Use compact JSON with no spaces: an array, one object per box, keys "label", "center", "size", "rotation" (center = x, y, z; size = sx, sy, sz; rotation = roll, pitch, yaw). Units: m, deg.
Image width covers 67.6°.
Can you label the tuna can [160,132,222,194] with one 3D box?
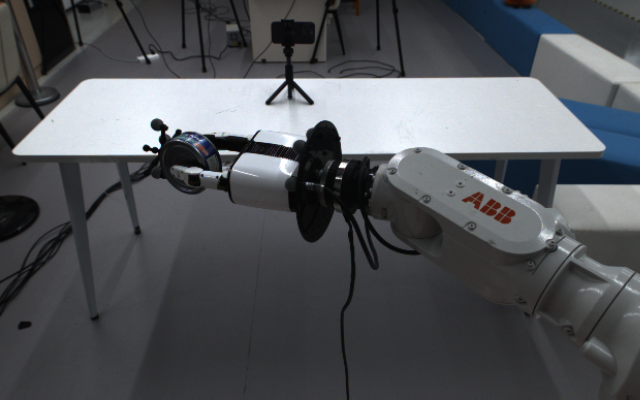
[{"label":"tuna can","center":[-0.183,-0.055,0.689],"size":[0.085,0.085,0.034],"rotation":[14,32,16]}]
